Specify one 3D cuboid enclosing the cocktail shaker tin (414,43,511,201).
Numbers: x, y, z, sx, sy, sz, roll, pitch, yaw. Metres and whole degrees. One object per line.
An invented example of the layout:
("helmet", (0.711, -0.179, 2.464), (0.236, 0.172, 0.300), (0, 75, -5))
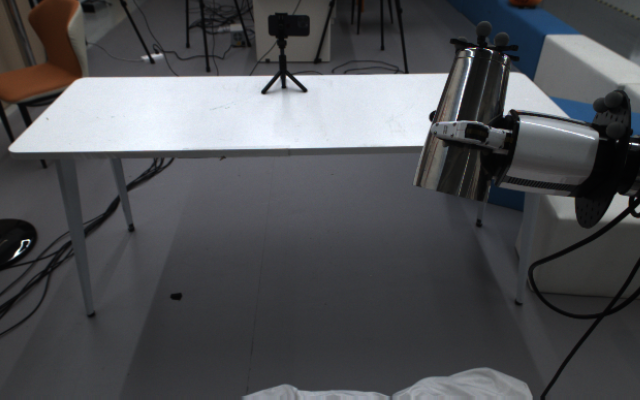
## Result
("cocktail shaker tin", (0.179, -0.091, 0.590), (0.093, 0.170, 0.093), (13, 4, -1))
